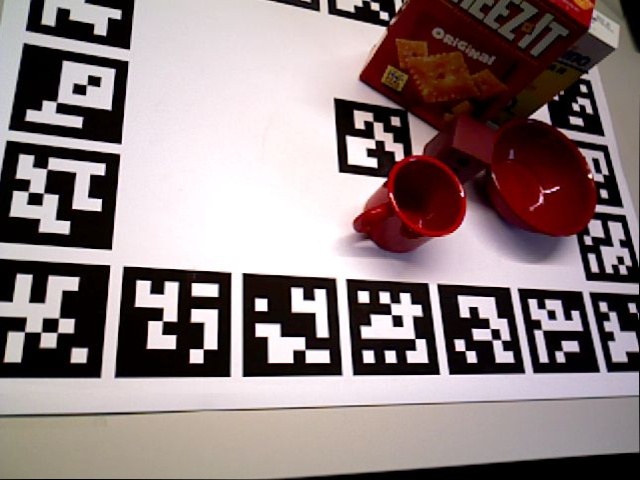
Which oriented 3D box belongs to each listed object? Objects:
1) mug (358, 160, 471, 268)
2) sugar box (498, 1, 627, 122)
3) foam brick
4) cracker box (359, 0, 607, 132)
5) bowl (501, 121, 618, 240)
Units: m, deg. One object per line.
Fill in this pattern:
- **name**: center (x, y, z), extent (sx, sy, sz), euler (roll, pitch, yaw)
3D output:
- **mug**: center (0.094, -0.021, 0.568), extent (0.115, 0.083, 0.092), euler (-5, 64, -21)
- **sugar box**: center (0.261, -0.219, 0.655), extent (0.092, 0.180, 0.044), euler (24, 62, -10)
- **foam brick**: center (0.161, -0.099, 0.634), extent (0.052, 0.080, 0.050), euler (18, 63, -13)
- **cracker box**: center (0.165, -0.220, 0.599), extent (0.164, 0.218, 0.070), euler (32, 59, -8)
- **bowl**: center (0.278, -0.062, 0.660), extent (0.160, 0.056, 0.160), euler (7, 69, -19)
